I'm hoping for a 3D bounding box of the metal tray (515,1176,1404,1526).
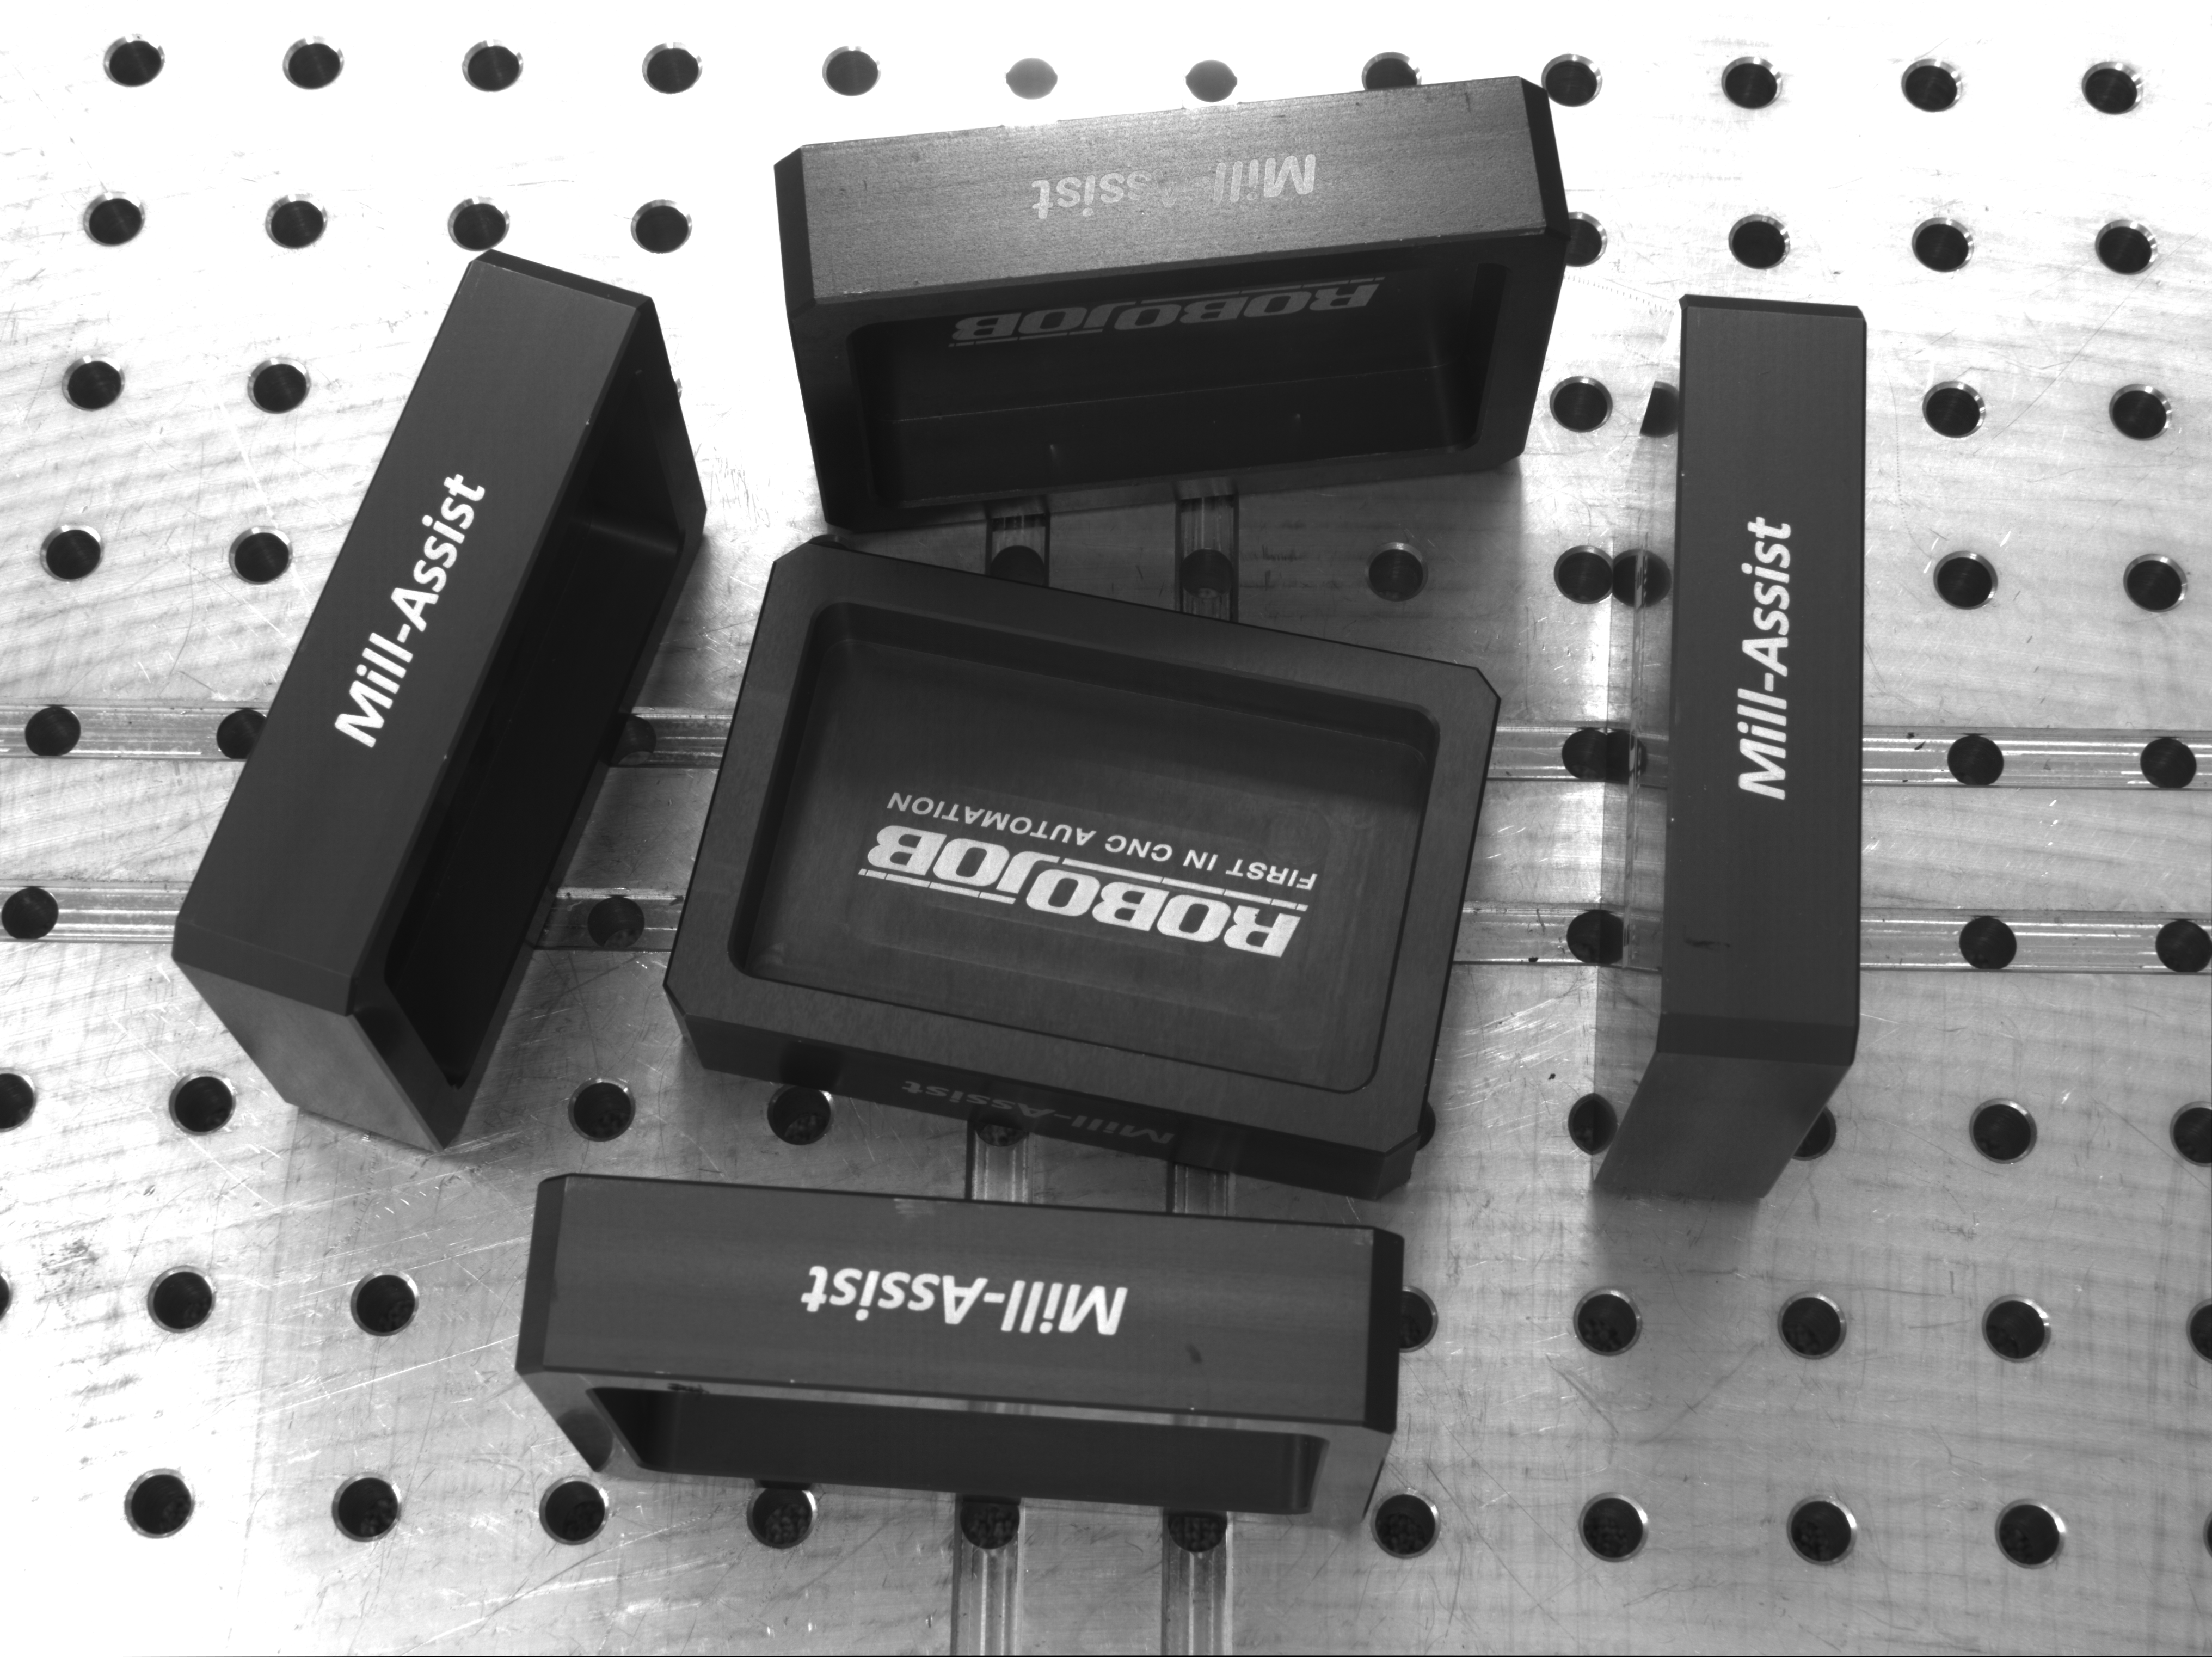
[{"bbox_3d":[-0.021,0.085,0.582,0.130,0.090,0.030,3,70,2],"label":"metal tray"}]

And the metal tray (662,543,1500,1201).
[{"bbox_3d":[-0.003,0.007,0.642,0.130,0.030,0.090,11,70,4],"label":"metal tray"}]

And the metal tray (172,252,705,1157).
[{"bbox_3d":[-0.109,-0.019,0.620,0.030,0.090,0.130,17,71,7],"label":"metal tray"}]

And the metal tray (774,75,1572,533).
[{"bbox_3d":[0.011,-0.090,0.646,0.130,0.090,0.030,-6,70,-2],"label":"metal tray"}]

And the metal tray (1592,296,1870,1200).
[{"bbox_3d":[0.104,-0.012,0.617,0.030,0.090,0.130,4,70,2],"label":"metal tray"}]
